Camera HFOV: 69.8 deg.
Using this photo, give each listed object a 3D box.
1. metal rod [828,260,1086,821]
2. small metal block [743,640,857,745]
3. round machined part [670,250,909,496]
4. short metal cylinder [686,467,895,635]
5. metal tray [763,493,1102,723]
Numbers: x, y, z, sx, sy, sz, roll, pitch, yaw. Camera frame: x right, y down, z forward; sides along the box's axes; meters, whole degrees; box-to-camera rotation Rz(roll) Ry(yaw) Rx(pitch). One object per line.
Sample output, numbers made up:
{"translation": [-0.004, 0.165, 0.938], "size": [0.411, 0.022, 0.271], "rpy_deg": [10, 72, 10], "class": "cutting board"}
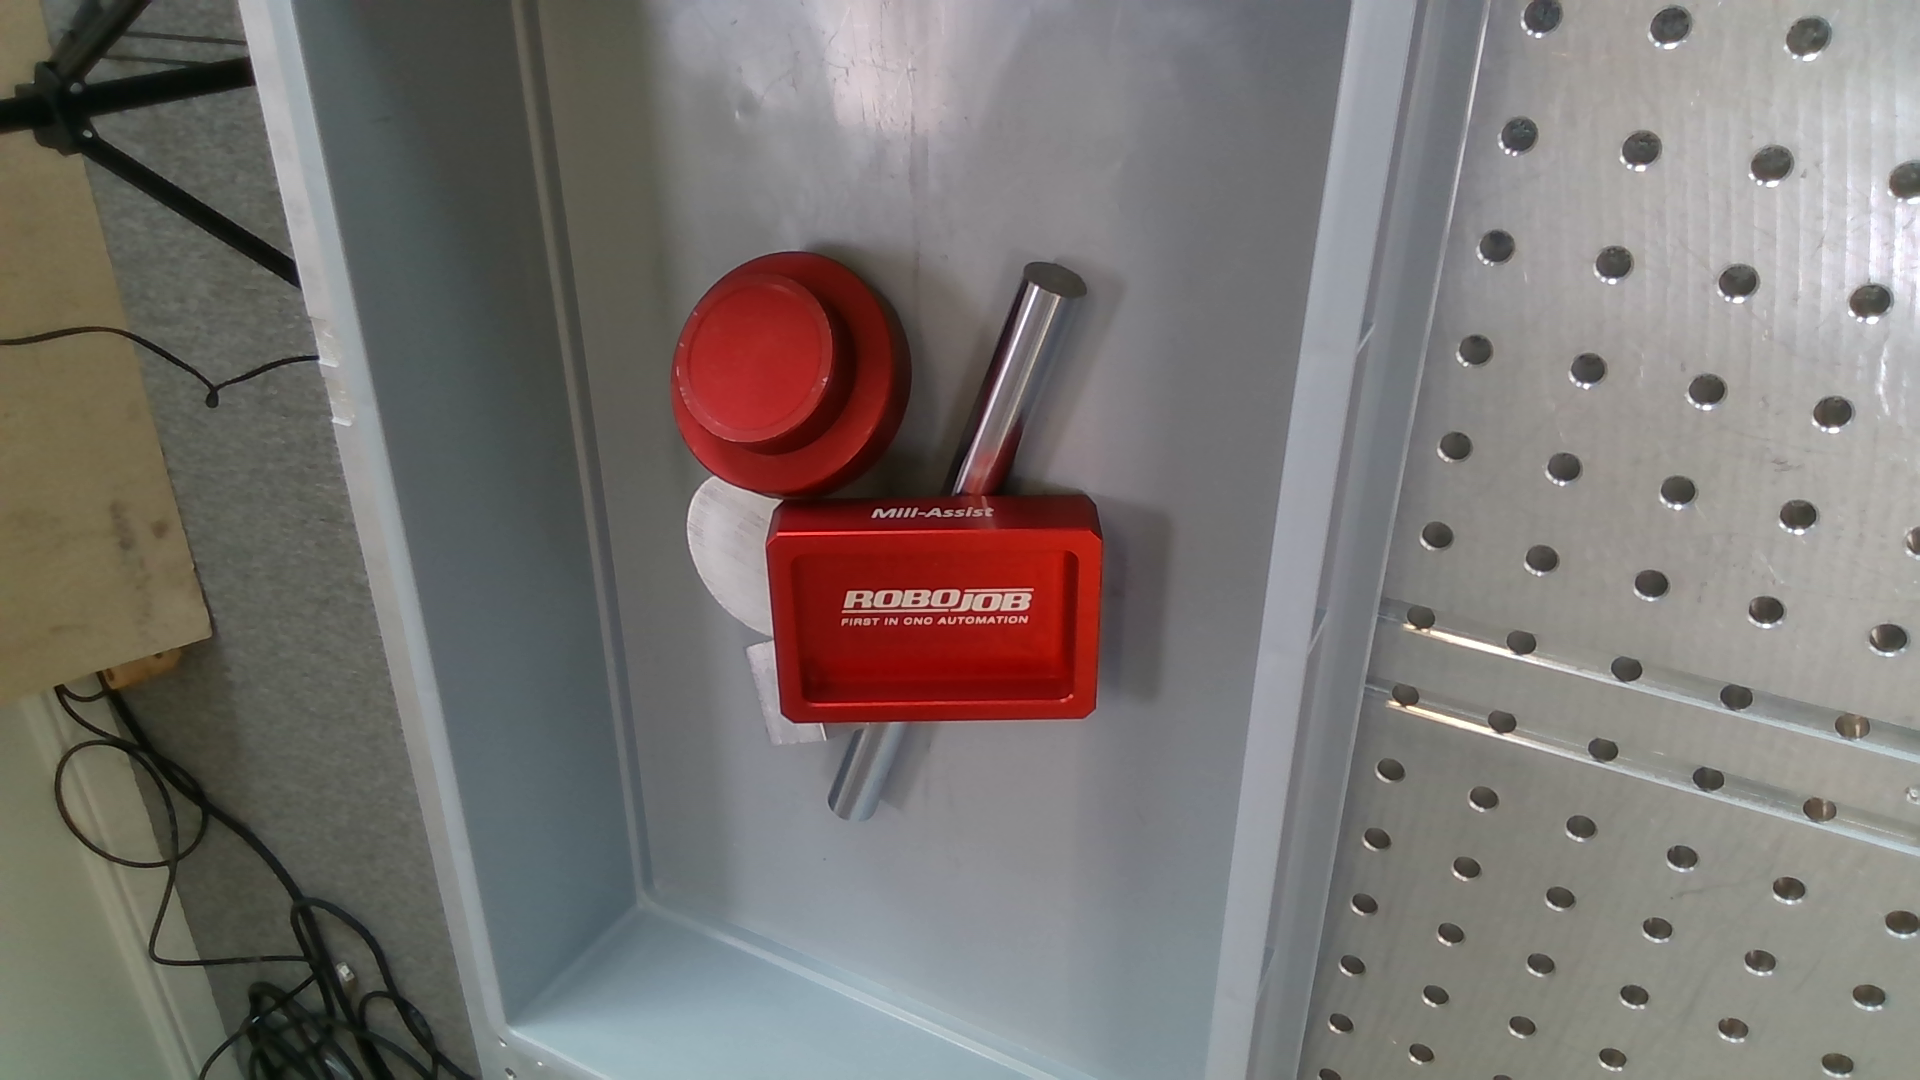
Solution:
{"translation": [-0.010, 0.017, 0.594], "size": [0.025, 0.025, 0.301], "rpy_deg": [31, 128, 13], "class": "metal rod"}
{"translation": [-0.073, 0.067, 0.646], "size": [0.050, 0.025, 0.050], "rpy_deg": [-16, 90, 53], "class": "small metal block"}
{"translation": [-0.072, -0.068, 0.545], "size": [0.098, 0.042, 0.098], "rpy_deg": [-2, 83, 19], "class": "round machined part"}
{"translation": [-0.073, -0.004, 0.605], "size": [0.080, 0.050, 0.080], "rpy_deg": [14, 122, 25], "class": "short metal cylinder"}
{"translation": [-0.010, 0.028, 0.559], "size": [0.130, 0.030, 0.090], "rpy_deg": [-1, 119, 0], "class": "metal tray"}
